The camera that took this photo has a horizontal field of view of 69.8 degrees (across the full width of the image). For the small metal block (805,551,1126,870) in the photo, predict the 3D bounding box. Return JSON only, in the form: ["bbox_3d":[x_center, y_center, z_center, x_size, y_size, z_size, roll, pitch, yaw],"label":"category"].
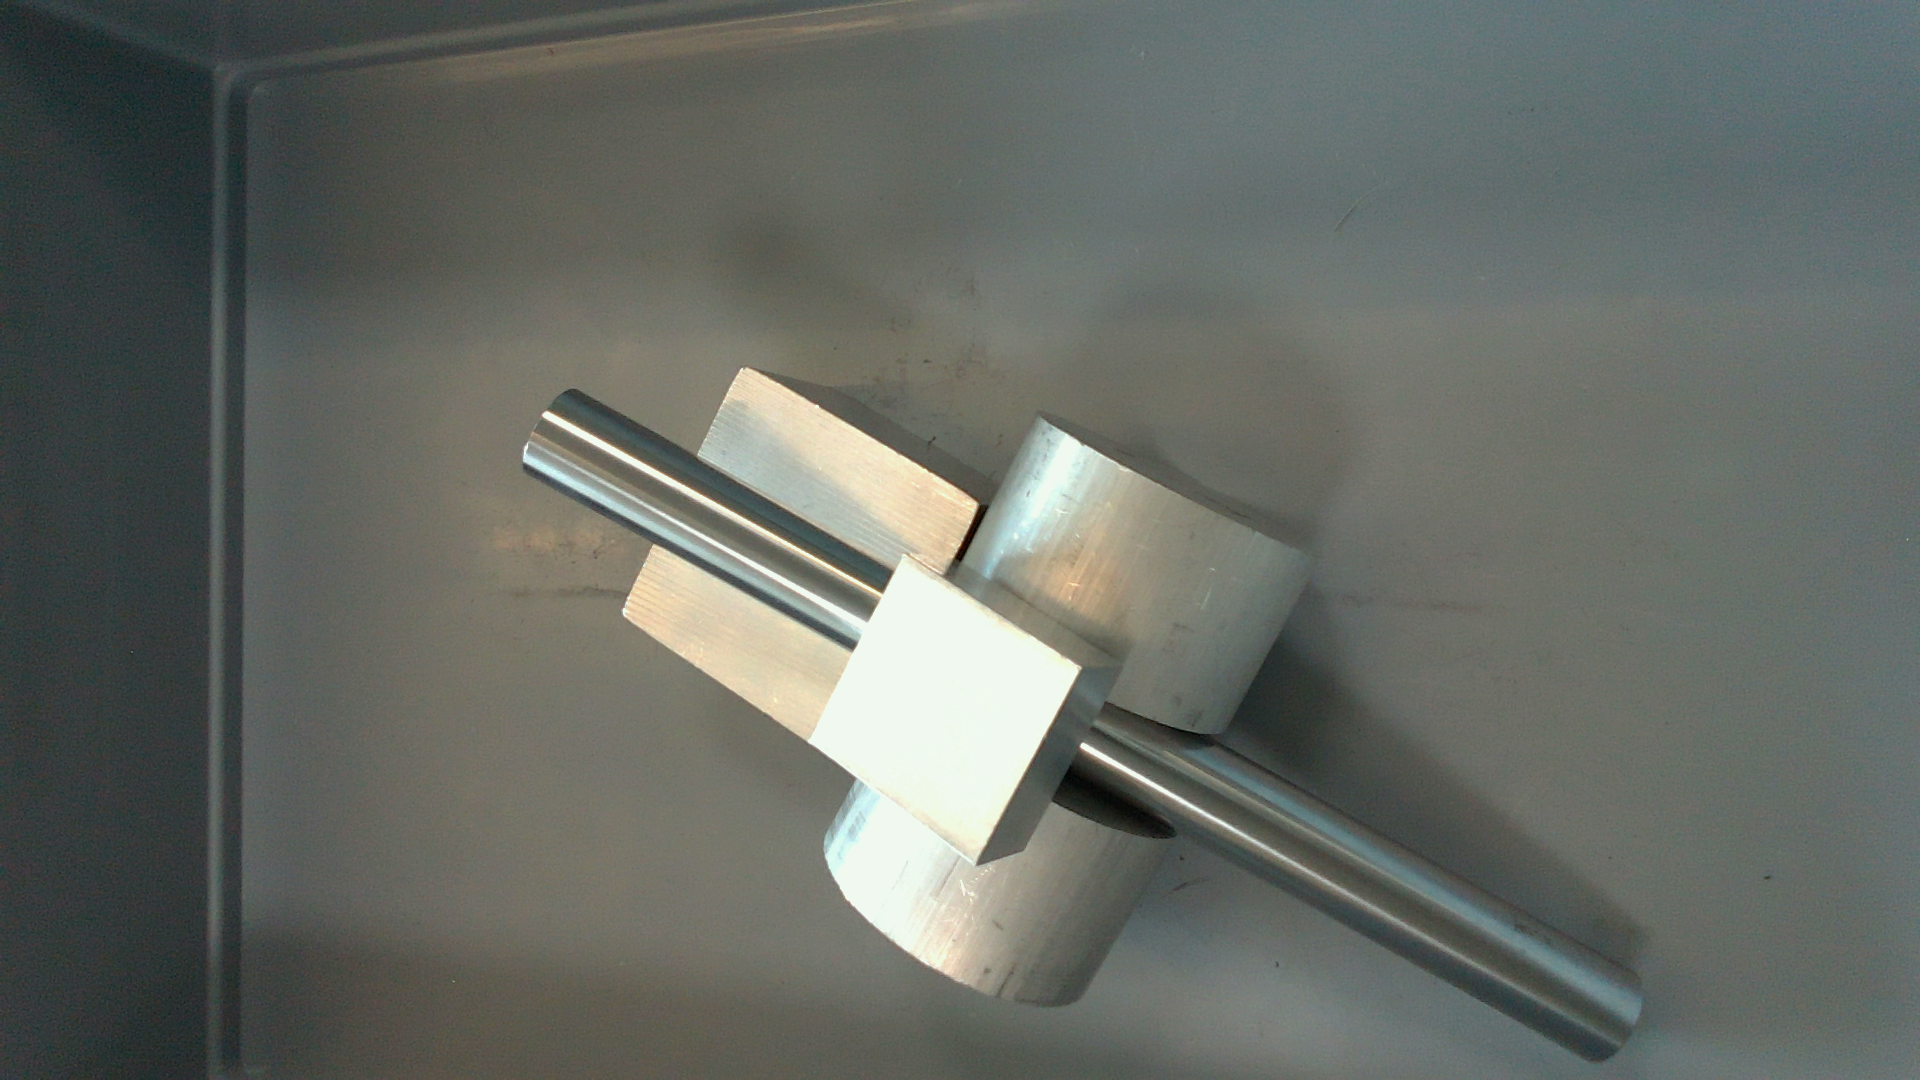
[{"bbox_3d":[0.001,0.037,0.310,0.050,0.025,0.050,32,101,26],"label":"small metal block"}]

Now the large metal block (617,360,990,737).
[{"bbox_3d":[-0.037,0.006,0.393,0.080,0.050,0.080,31,100,17],"label":"large metal block"}]

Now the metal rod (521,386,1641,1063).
[{"bbox_3d":[0.028,0.044,0.343,0.300,0.025,0.025,29,100,2],"label":"metal rod"}]

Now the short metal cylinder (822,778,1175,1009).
[{"bbox_3d":[0.011,0.076,0.361,0.080,0.080,0.050,32,100,17],"label":"short metal cylinder"}]

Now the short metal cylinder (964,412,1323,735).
[{"bbox_3d":[0.044,0.007,0.350,0.080,0.080,0.050,29,100,18],"label":"short metal cylinder"}]
